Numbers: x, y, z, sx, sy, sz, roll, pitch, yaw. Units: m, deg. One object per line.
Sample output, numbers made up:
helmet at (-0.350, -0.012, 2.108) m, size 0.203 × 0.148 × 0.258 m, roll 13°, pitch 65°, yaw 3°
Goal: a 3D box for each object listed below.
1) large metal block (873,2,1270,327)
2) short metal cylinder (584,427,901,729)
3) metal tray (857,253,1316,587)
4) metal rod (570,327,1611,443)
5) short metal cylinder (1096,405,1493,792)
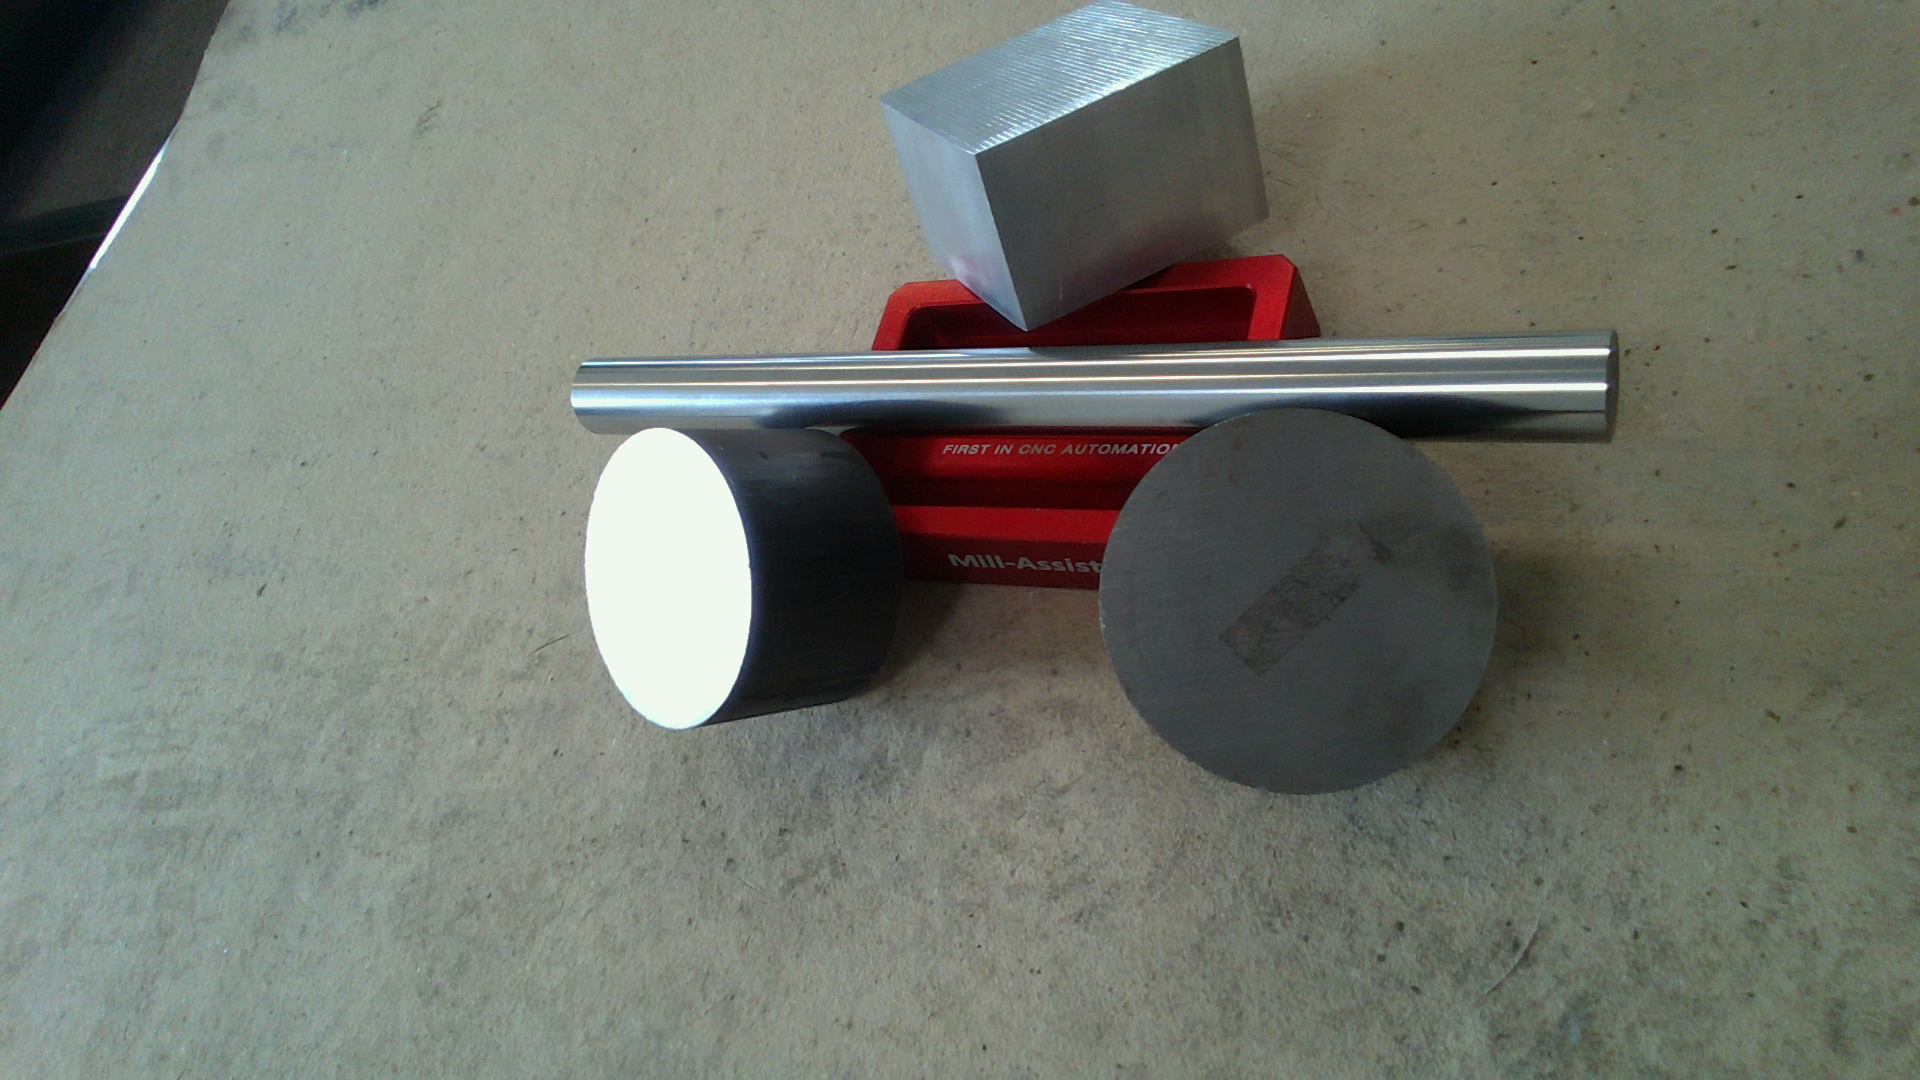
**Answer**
large metal block at (0.031, -0.113, 0.403) m, size 0.080 × 0.050 × 0.080 m, roll -26°, pitch 34°, yaw -9°
short metal cylinder at (-0.062, 0.009, 0.382) m, size 0.080 × 0.050 × 0.080 m, roll 4°, pitch 96°, yaw 46°
metal tray at (0.030, -0.034, 0.396) m, size 0.130 × 0.030 × 0.090 m, roll 2°, pitch 62°, yaw 29°
metal rod at (0.012, -0.040, 0.374) m, size 0.299 × 0.025 × 0.025 m, roll 3°, pitch 63°, yaw 30°
short metal cylinder at (0.072, 0.014, 0.309) m, size 0.080 × 0.050 × 0.080 m, roll -1°, pitch 84°, yaw 9°
